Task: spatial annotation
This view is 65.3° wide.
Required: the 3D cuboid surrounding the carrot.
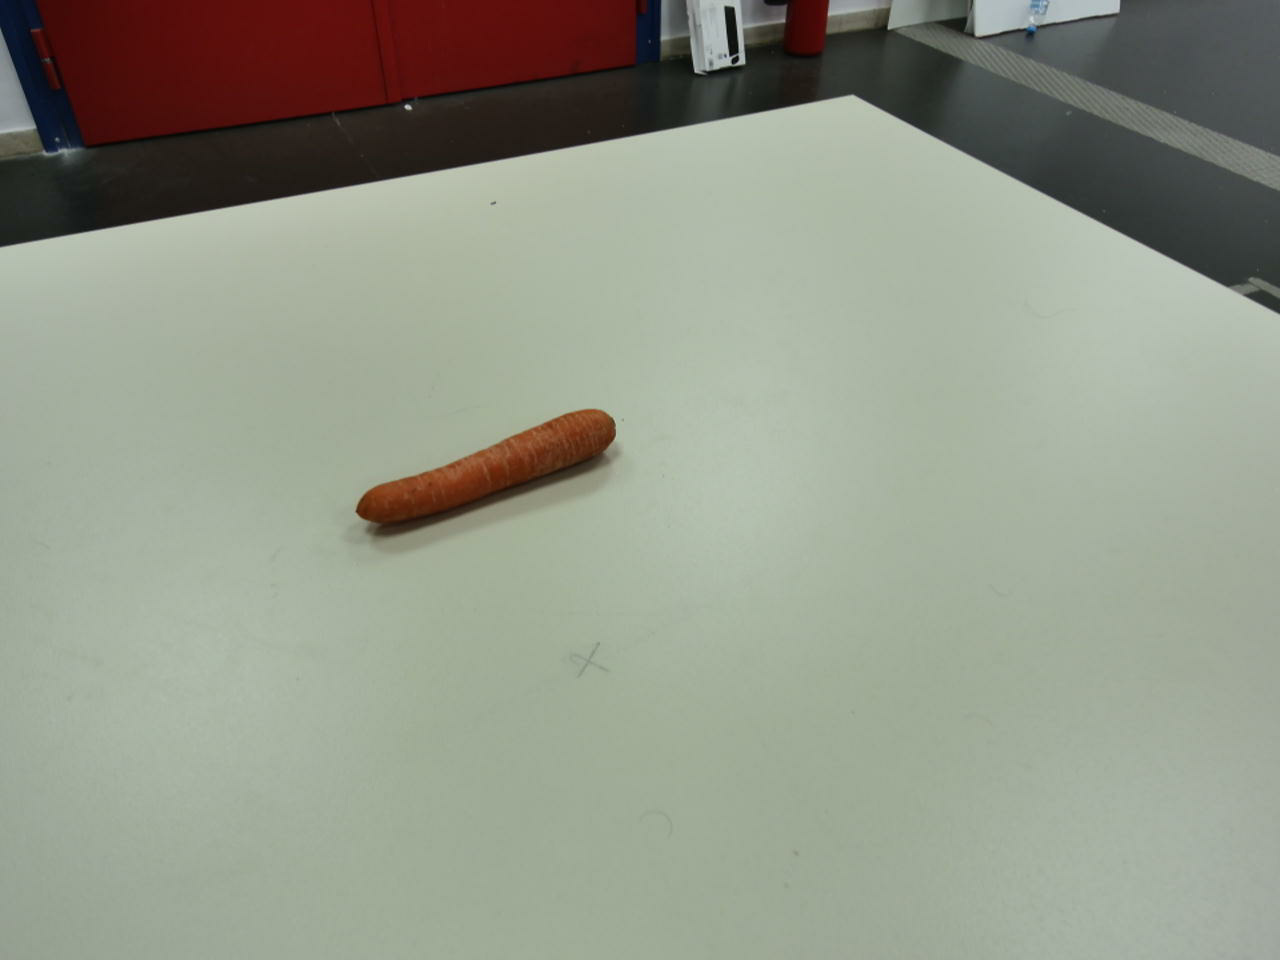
[{"bbox_3d":[-0.065,-0.007,0.441,0.122,0.023,0.024,-19,42,-23],"label":"carrot"}]
